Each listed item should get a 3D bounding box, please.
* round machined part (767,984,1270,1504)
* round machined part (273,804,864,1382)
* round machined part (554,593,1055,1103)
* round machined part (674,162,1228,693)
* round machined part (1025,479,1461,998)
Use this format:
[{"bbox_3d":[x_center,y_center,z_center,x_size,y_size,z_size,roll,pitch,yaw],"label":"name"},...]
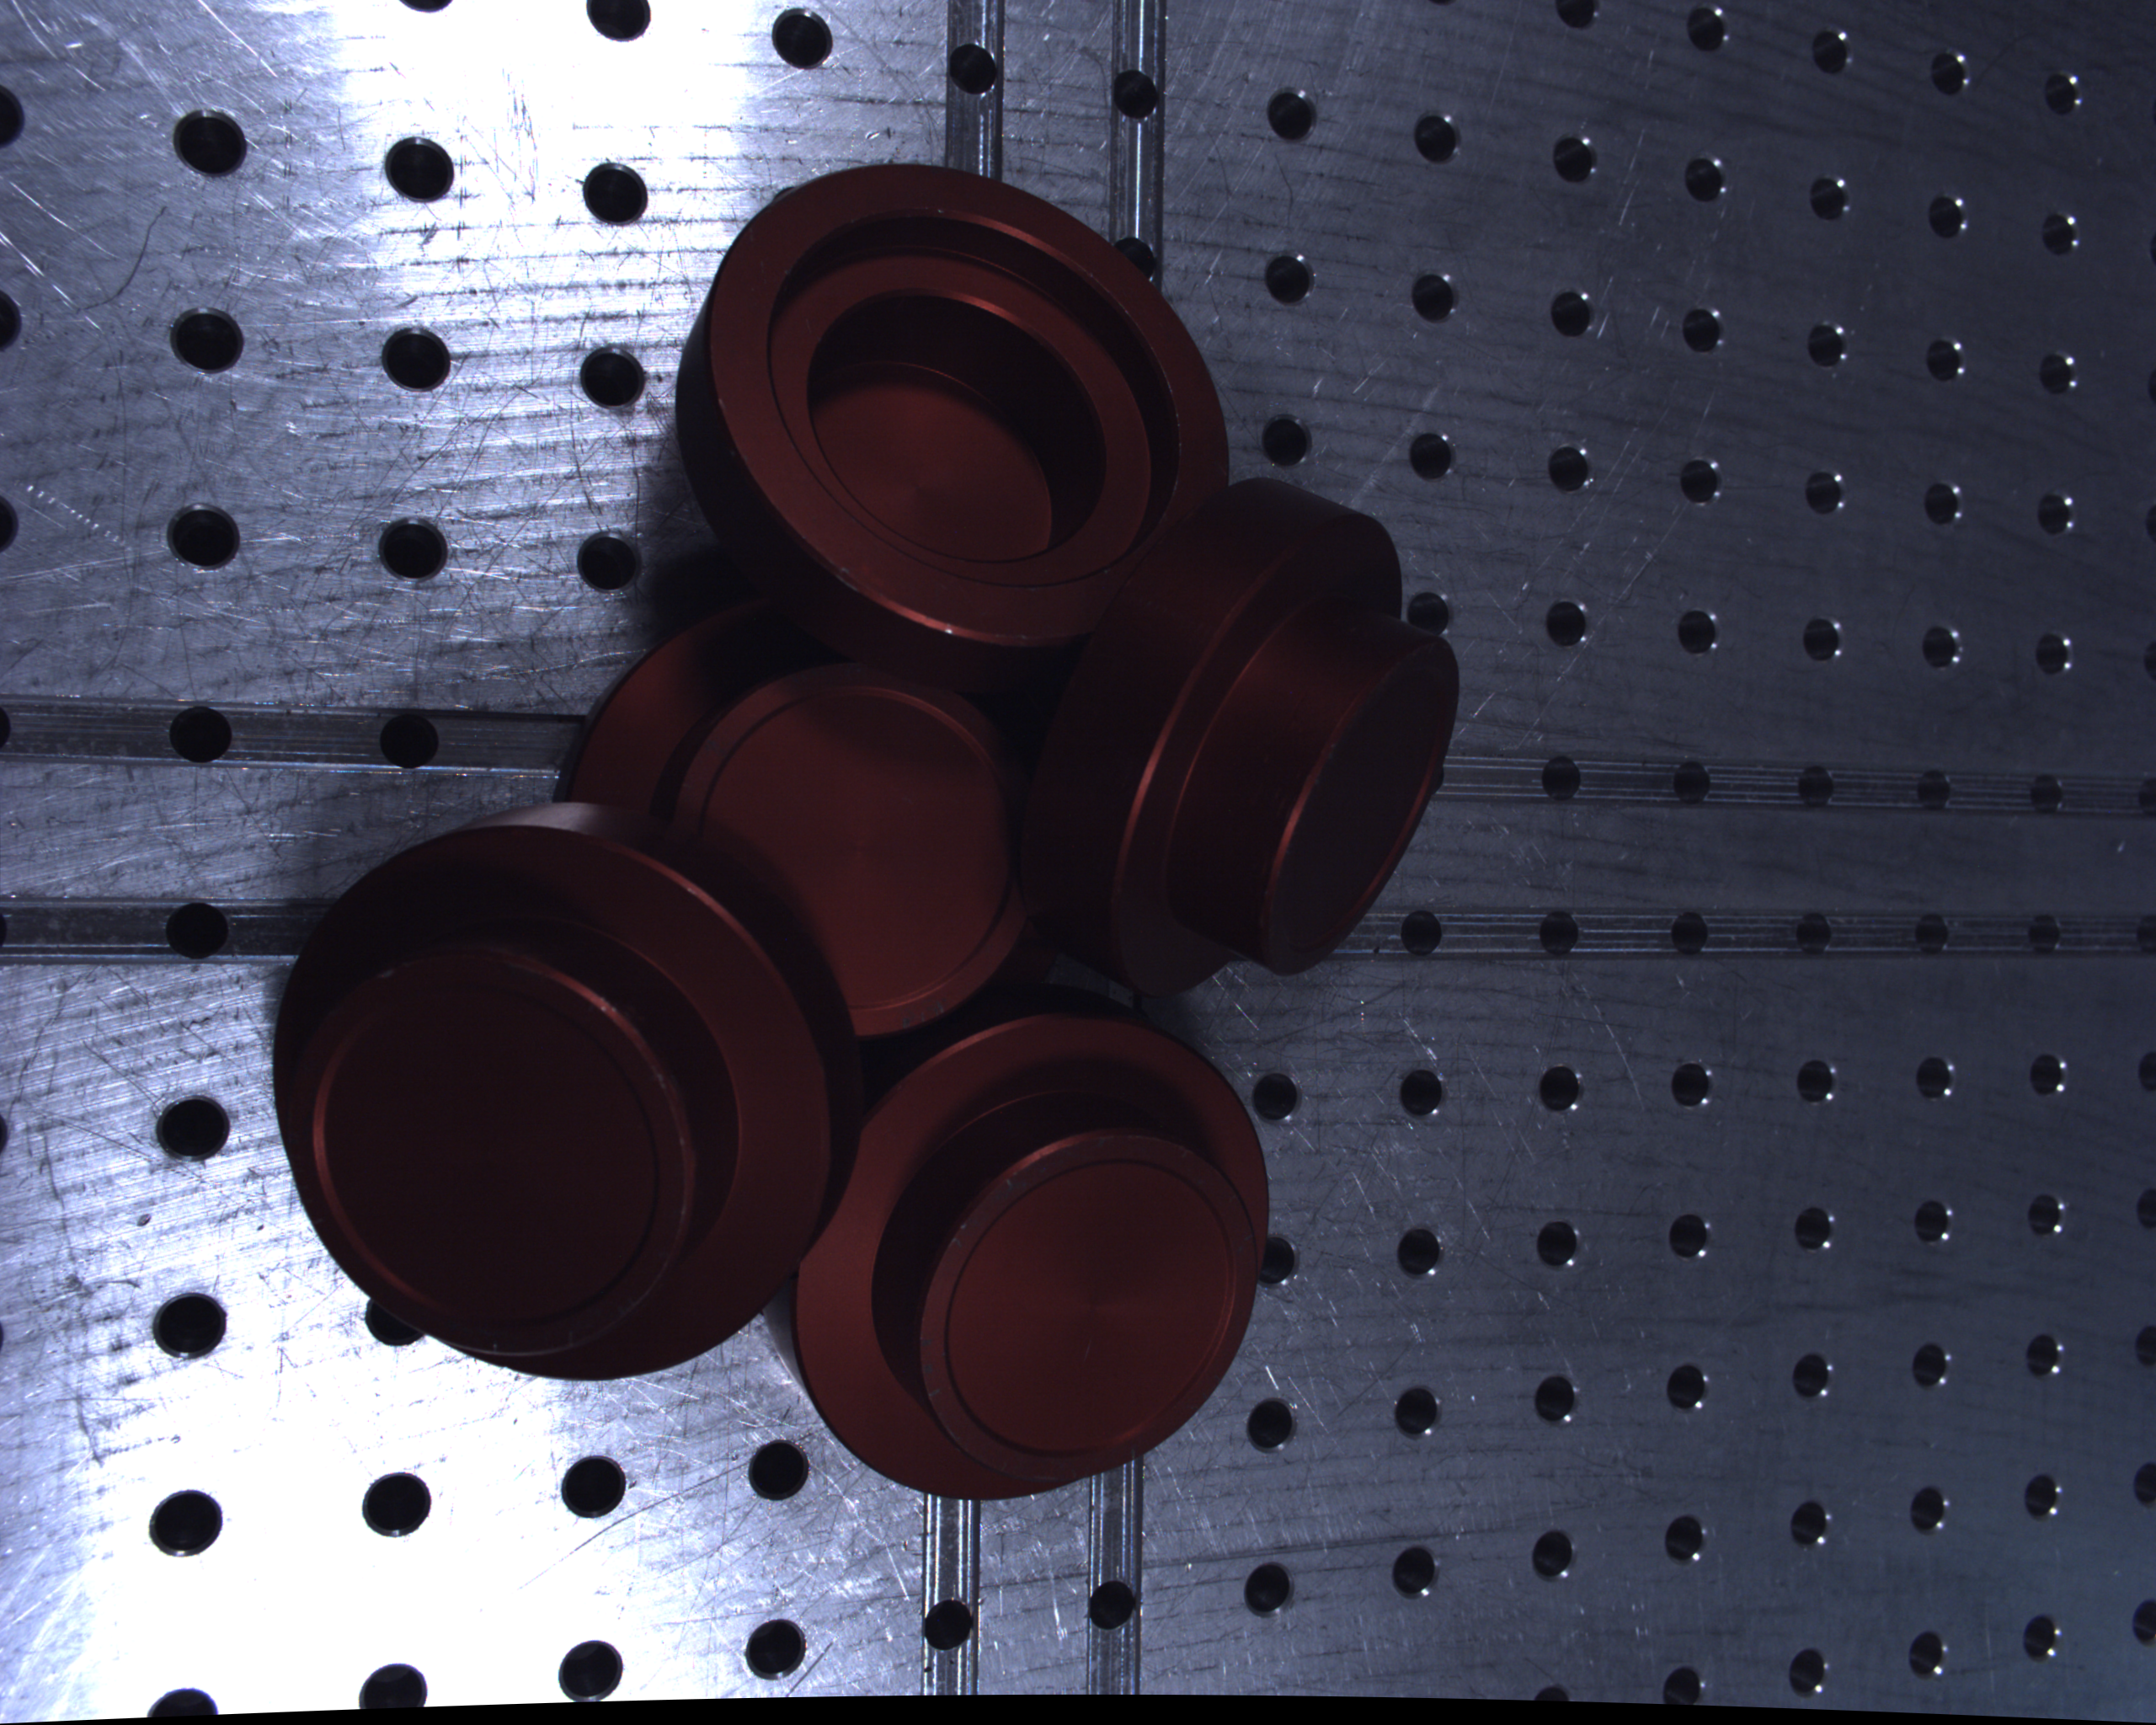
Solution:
[{"bbox_3d":[-0.006,0.075,0.389,0.099,0.042,0.097,-6,104,-25],"label":"round machined part"},{"bbox_3d":[-0.089,0.042,0.346,0.098,0.042,0.097,2,103,9],"label":"round machined part"},{"bbox_3d":[-0.046,-0.003,0.386,0.099,0.042,0.097,0,90,-21],"label":"round machined part"},{"bbox_3d":[-0.026,-0.075,0.383,0.099,0.042,0.098,10,65,-22],"label":"round machined part"},{"bbox_3d":[0.036,-0.018,0.387,0.042,0.098,0.098,28,78,23],"label":"round machined part"}]
